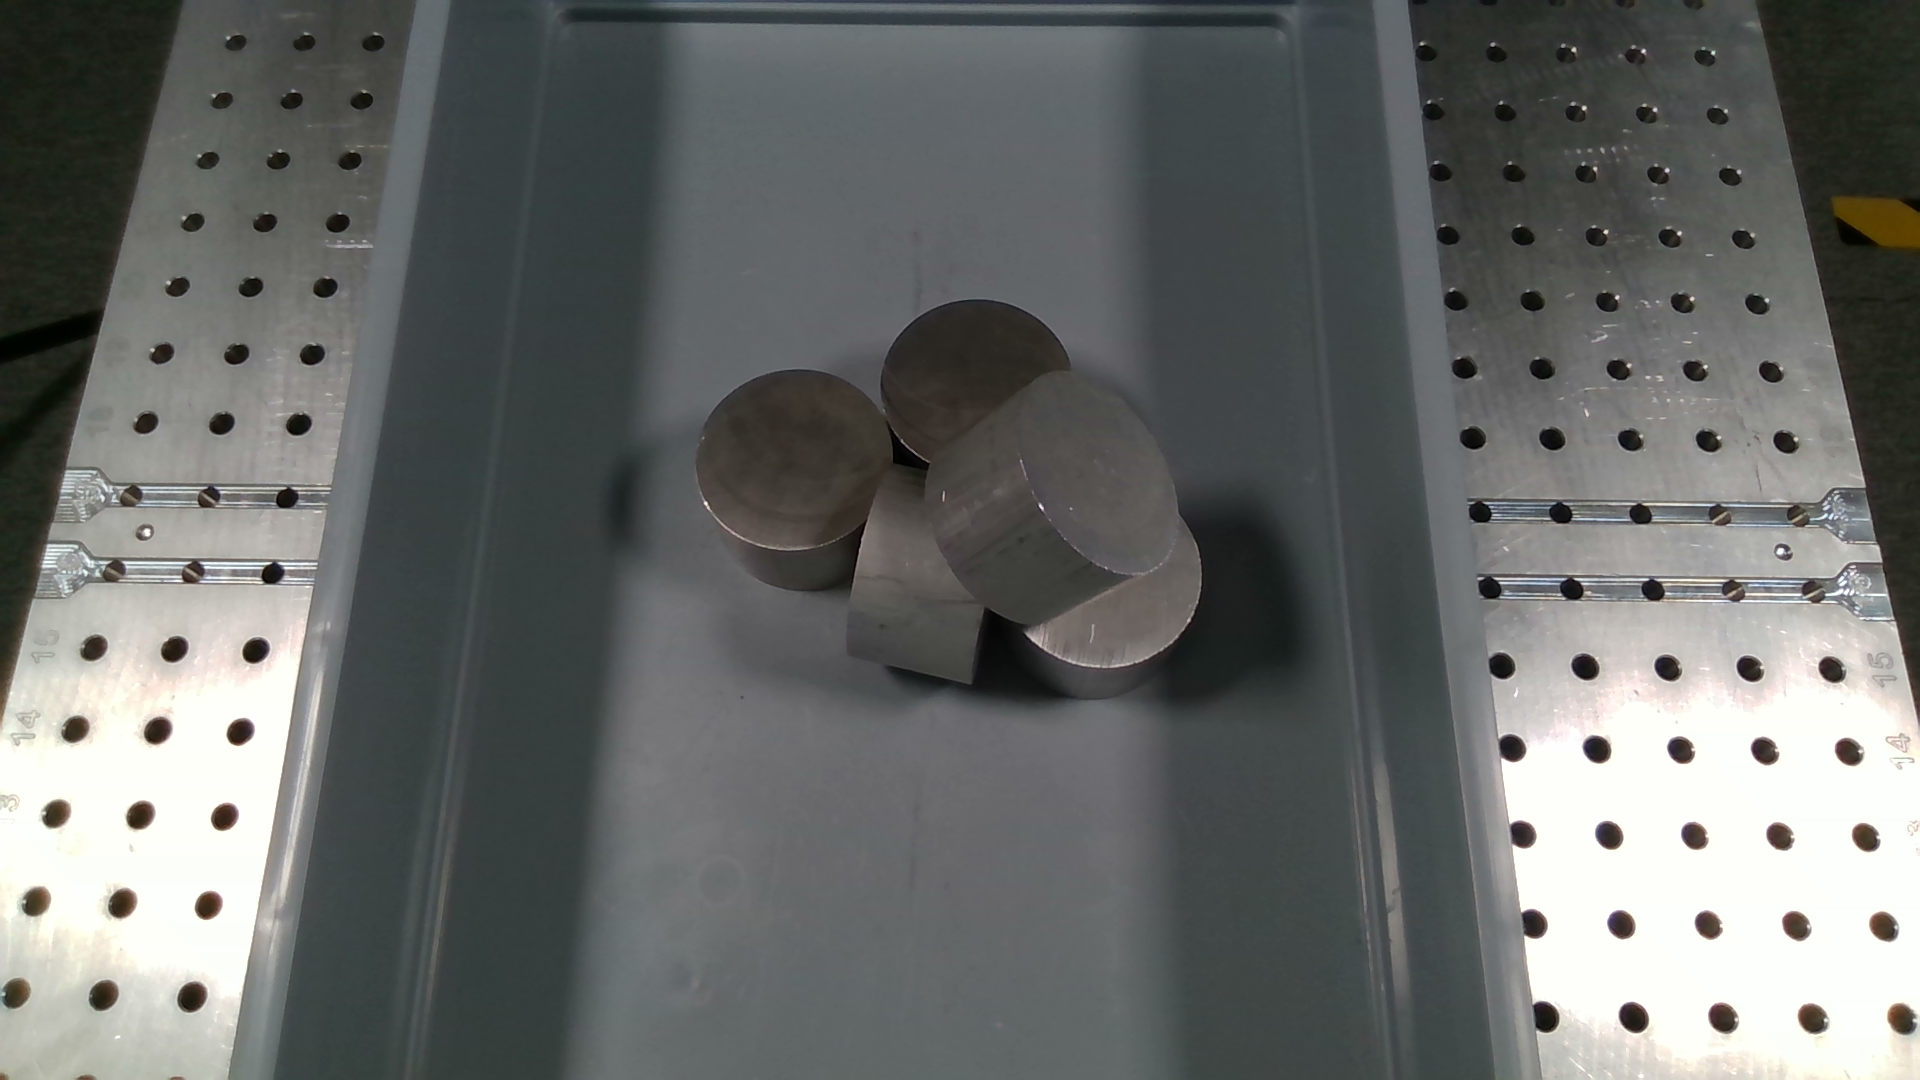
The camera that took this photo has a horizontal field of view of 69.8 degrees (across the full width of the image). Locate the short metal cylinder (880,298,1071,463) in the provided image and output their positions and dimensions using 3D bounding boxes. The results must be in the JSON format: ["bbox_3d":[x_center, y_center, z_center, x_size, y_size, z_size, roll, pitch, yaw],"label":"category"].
[{"bbox_3d":[0.007,-0.056,0.593,0.080,0.050,0.080,0,70,0],"label":"short metal cylinder"}]

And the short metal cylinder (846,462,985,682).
[{"bbox_3d":[-0.011,0.013,0.554,0.050,0.080,0.080,13,71,4],"label":"short metal cylinder"}]

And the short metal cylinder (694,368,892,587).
[{"bbox_3d":[-0.068,-0.025,0.582,0.080,0.050,0.080,0,70,0],"label":"short metal cylinder"}]

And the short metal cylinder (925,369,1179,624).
[{"bbox_3d":[0.034,-0.015,0.504,0.080,0.050,0.080,22,54,-34],"label":"short metal cylinder"}]

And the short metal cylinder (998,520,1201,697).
[{"bbox_3d":[0.055,0.020,0.566,0.080,0.050,0.080,0,70,0],"label":"short metal cylinder"}]
